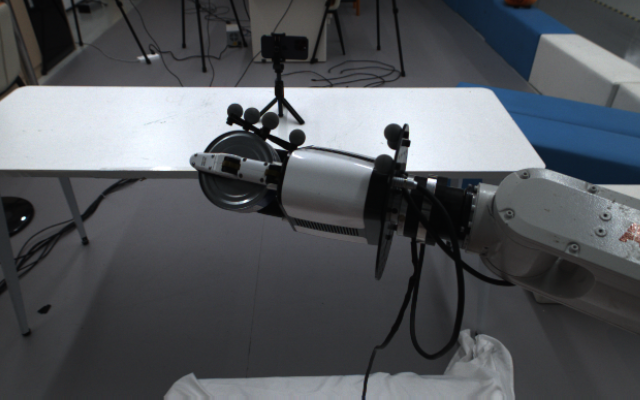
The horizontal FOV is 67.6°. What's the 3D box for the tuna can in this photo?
[{"bbox_3d":[-0.082,-0.031,0.520,0.085,0.085,0.034,13,-6,16],"label":"tuna can"}]
